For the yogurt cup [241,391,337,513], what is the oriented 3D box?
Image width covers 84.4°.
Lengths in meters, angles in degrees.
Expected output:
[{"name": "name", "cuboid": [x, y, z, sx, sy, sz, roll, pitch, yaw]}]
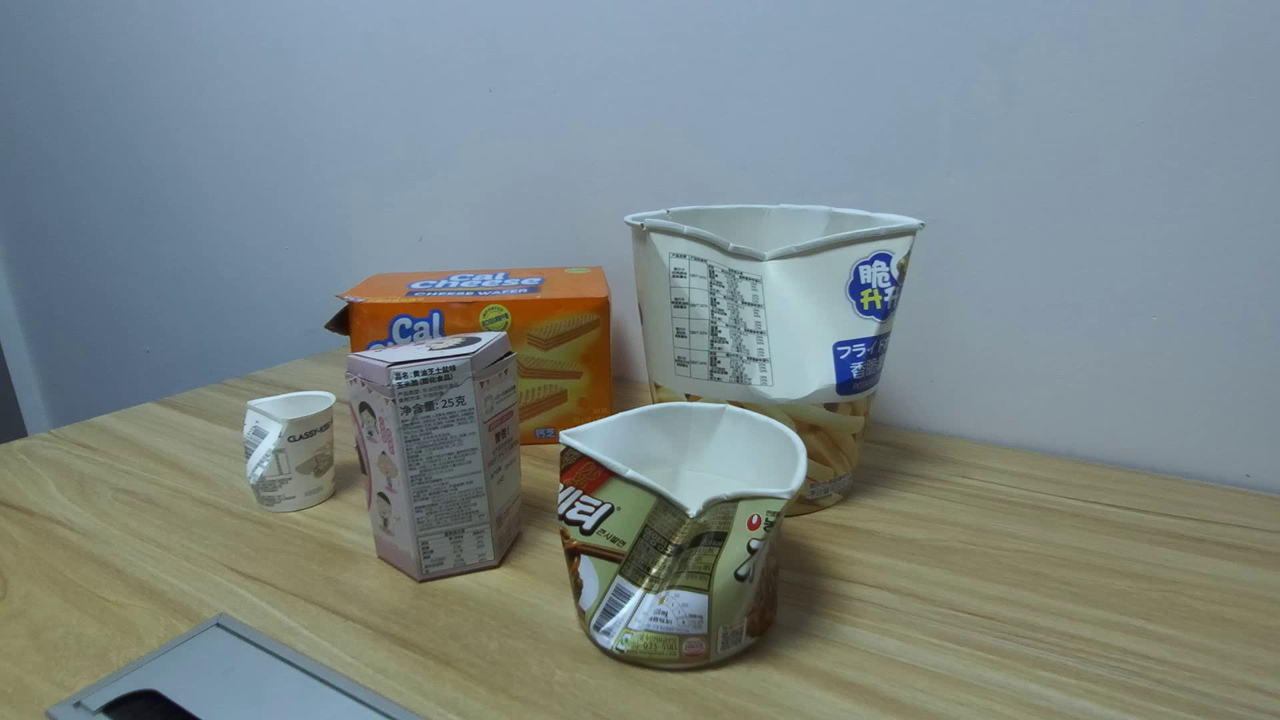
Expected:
[{"name": "yogurt cup", "cuboid": [-0.248, 0.065, 0.506, 0.067, 0.070, 0.067, -1, 18, 1]}]

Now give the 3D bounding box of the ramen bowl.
[{"name": "ramen bowl", "cuboid": [0.027, 0.087, 0.380, 0.137, 0.098, 0.137, 2, 19, 0]}]

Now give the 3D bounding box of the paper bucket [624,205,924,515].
[{"name": "paper bucket", "cuboid": [0.078, -0.006, 0.511, 0.163, 0.202, 0.168, -10, 17, -25]}]

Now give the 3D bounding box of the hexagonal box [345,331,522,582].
[{"name": "hexagonal box", "cuboid": [-0.121, 0.054, 0.433, 0.085, 0.135, 0.092, 2, 17, 13]}]

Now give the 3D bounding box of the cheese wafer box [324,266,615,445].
[{"name": "cheese wafer box", "cuboid": [-0.137, -0.010, 0.643, 0.227, 0.137, 0.149, -2, 17, -4]}]
